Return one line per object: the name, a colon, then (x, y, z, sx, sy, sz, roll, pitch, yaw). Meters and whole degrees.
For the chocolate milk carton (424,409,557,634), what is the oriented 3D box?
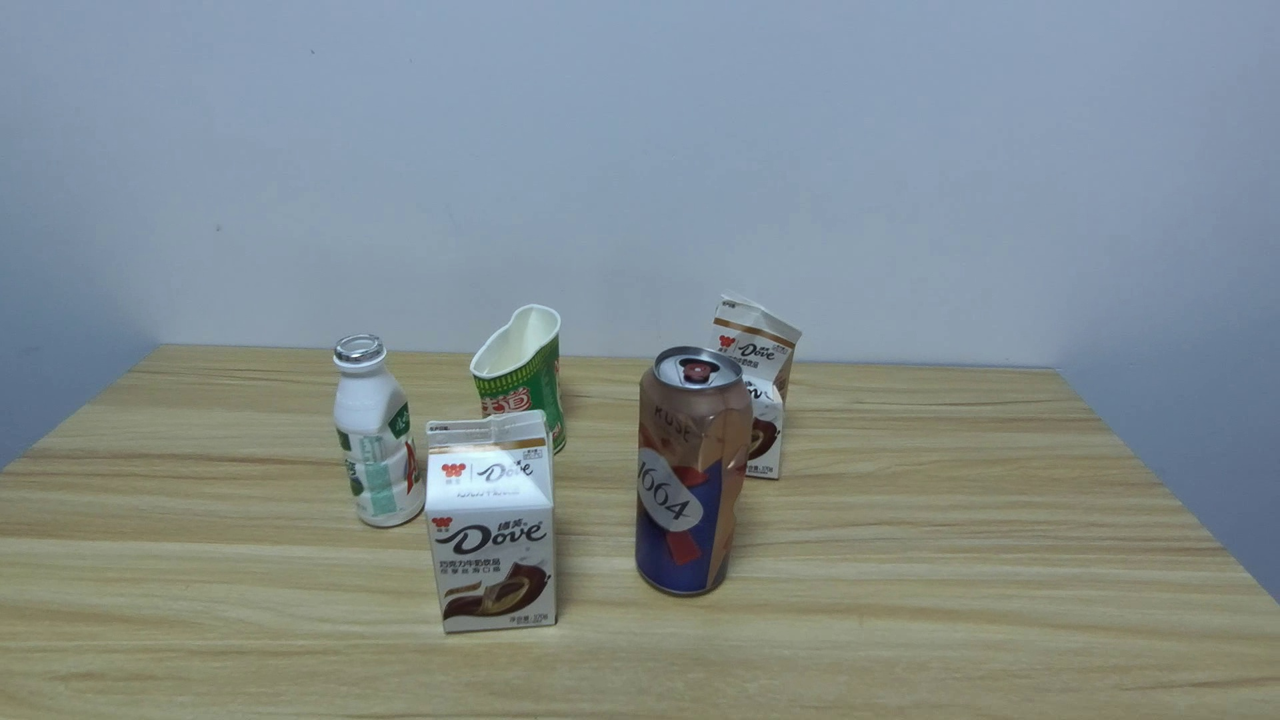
chocolate milk carton: (-0.091, 0.094, 0.446, 0.075, 0.148, 0.074, -2, 31, -8)

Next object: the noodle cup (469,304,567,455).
noodle cup: (-0.102, 0.031, 0.606, 0.070, 0.111, 0.115, 11, 28, 28)

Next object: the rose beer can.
rose beer can: (0.034, 0.076, 0.465, 0.065, 0.167, 0.075, -8, 28, -19)

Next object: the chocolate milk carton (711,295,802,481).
chocolate milk carton: (0.087, 0.016, 0.577, 0.076, 0.156, 0.073, 7, 32, 8)

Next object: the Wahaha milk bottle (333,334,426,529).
Wahaha milk bottle: (-0.192, 0.052, 0.516, 0.056, 0.148, 0.056, 2, 30, -1)
